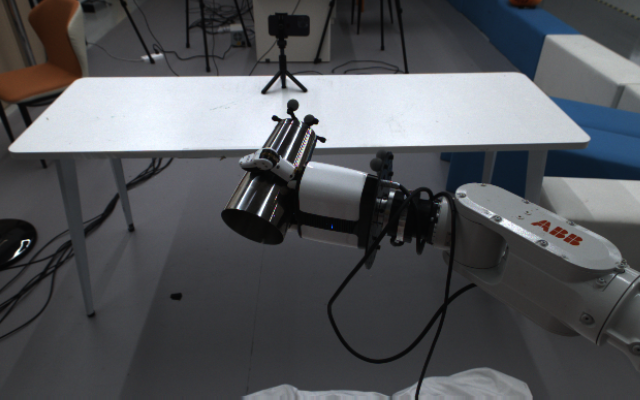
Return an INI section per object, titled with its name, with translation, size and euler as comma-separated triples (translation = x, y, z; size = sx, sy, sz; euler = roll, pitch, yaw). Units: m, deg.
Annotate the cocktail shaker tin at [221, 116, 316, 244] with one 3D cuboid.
[cocktail shaker tin]
translation = -0.065, -0.031, 0.690
size = 0.093, 0.093, 0.170
euler = 14, 61, 17
